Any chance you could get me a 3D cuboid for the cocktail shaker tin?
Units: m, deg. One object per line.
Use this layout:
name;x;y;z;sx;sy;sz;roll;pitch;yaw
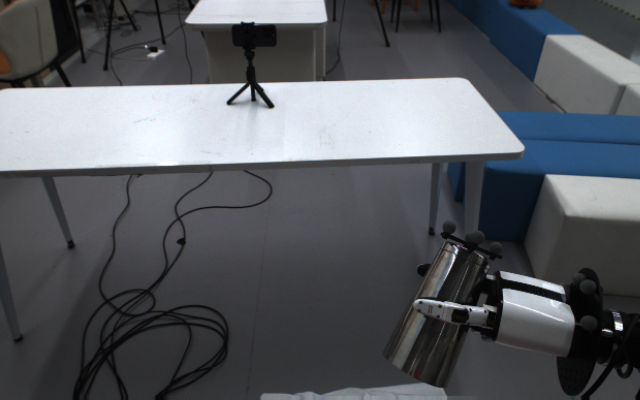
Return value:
cocktail shaker tin;0.162;0.142;0.638;0.093;0.170;0.093;23;0;0
